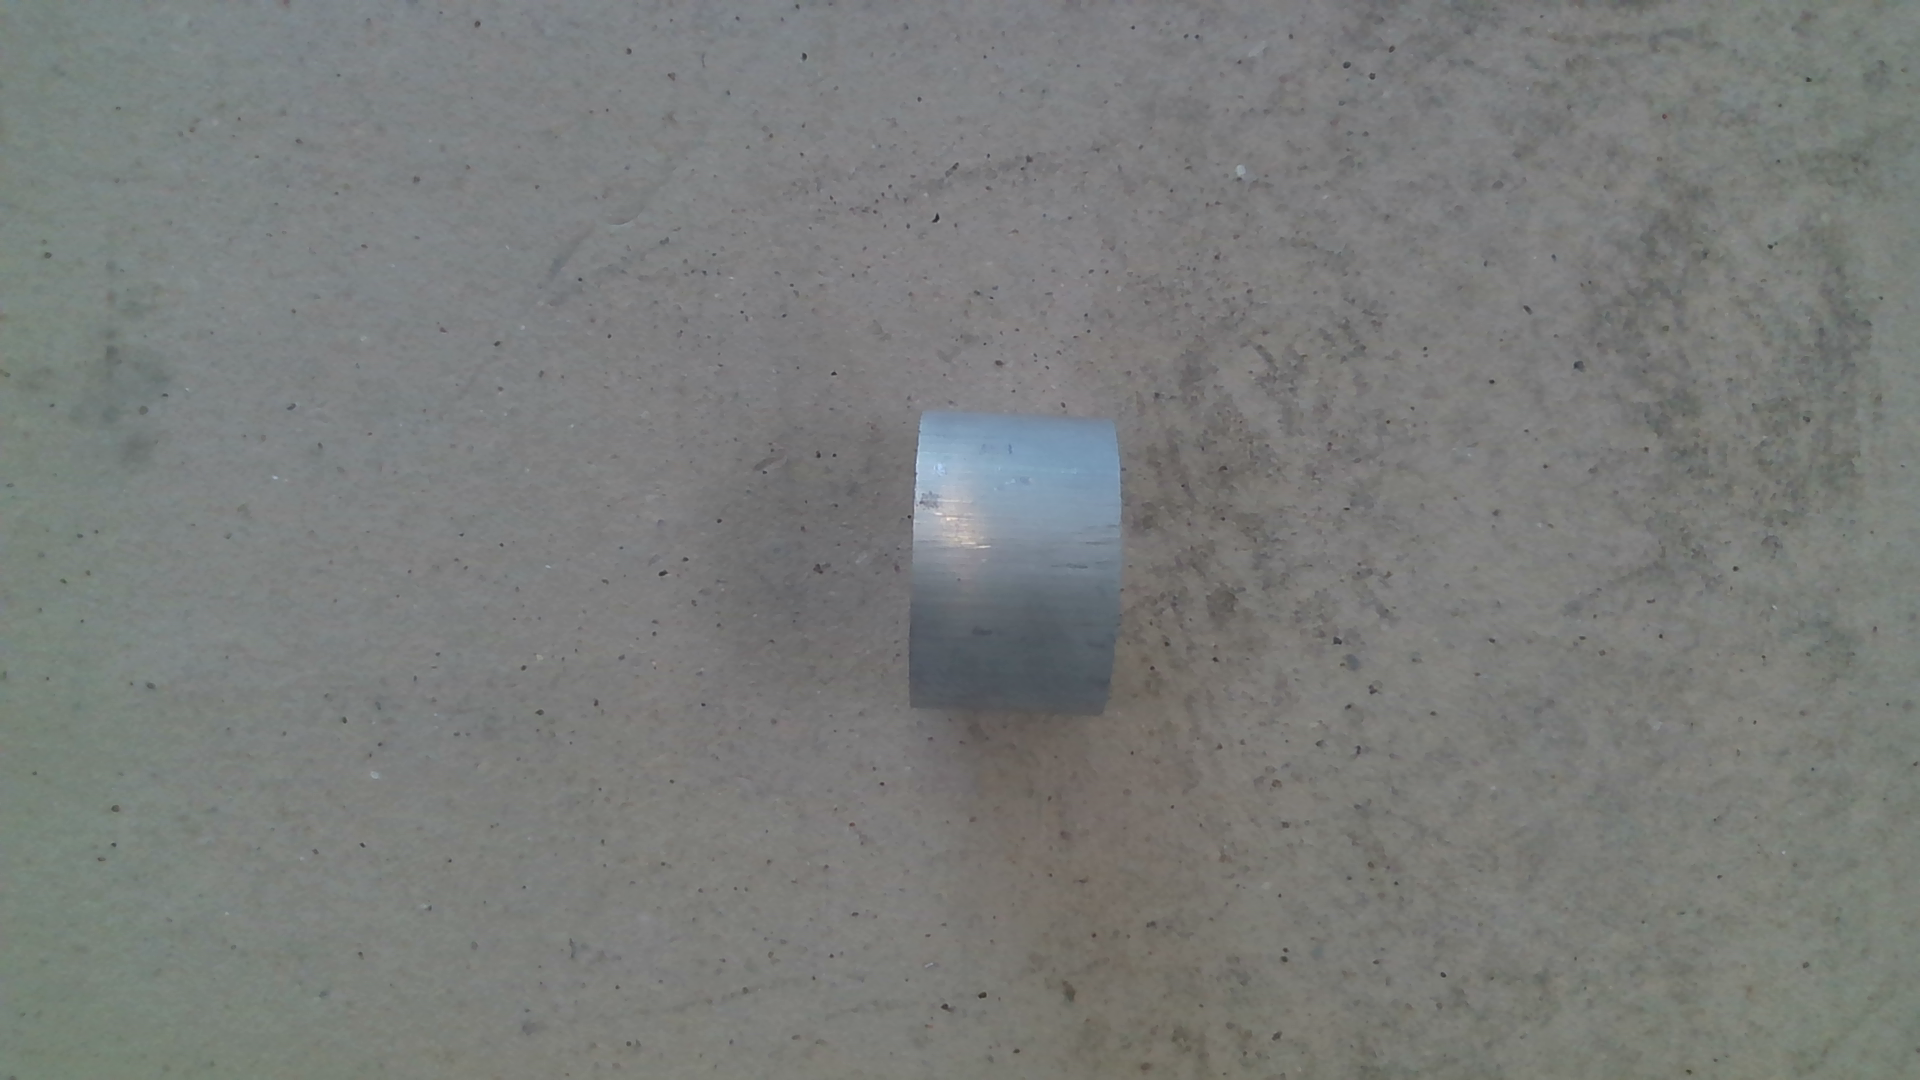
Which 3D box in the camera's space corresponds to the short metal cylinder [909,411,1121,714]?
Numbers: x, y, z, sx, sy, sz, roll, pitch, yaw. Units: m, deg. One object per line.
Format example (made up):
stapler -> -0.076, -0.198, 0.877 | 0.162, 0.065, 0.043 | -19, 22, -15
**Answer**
short metal cylinder -> 0.013, 0.006, 0.368 | 0.050, 0.080, 0.080 | 2, 90, 0
